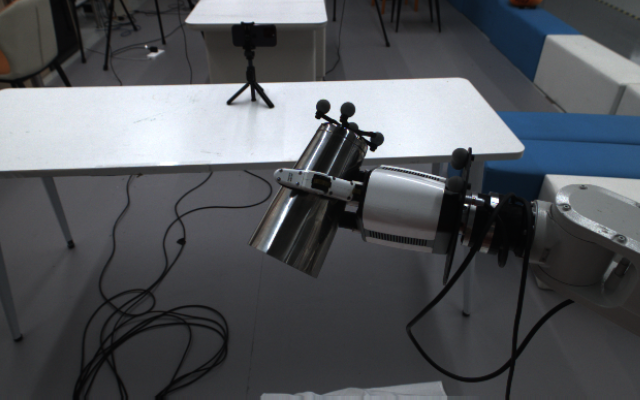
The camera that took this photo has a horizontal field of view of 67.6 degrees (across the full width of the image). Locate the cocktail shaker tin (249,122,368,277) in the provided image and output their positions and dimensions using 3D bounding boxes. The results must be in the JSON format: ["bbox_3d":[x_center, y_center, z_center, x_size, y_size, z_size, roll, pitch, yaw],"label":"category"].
[{"bbox_3d":[-0.006,-0.005,0.581,0.093,0.093,0.170,21,81,25],"label":"cocktail shaker tin"}]
